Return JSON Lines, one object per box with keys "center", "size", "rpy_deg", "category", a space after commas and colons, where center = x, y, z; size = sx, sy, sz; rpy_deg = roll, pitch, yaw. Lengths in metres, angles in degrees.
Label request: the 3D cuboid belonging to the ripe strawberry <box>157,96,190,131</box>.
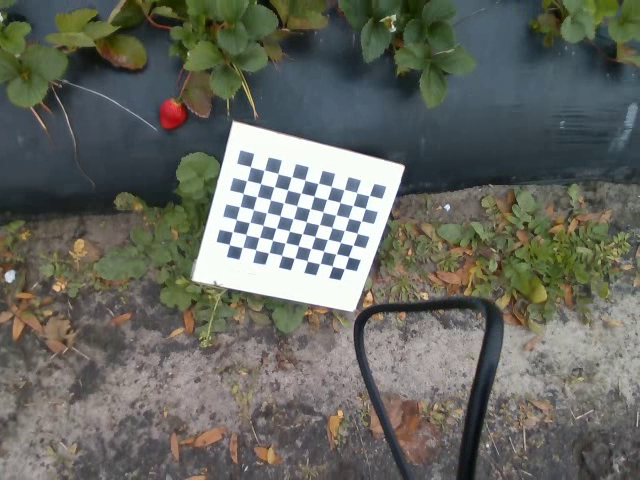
{"center": [-0.153, -0.129, 0.636], "size": [0.028, 0.033, 0.023], "rpy_deg": [29, 8, -14], "category": "ripe strawberry"}
